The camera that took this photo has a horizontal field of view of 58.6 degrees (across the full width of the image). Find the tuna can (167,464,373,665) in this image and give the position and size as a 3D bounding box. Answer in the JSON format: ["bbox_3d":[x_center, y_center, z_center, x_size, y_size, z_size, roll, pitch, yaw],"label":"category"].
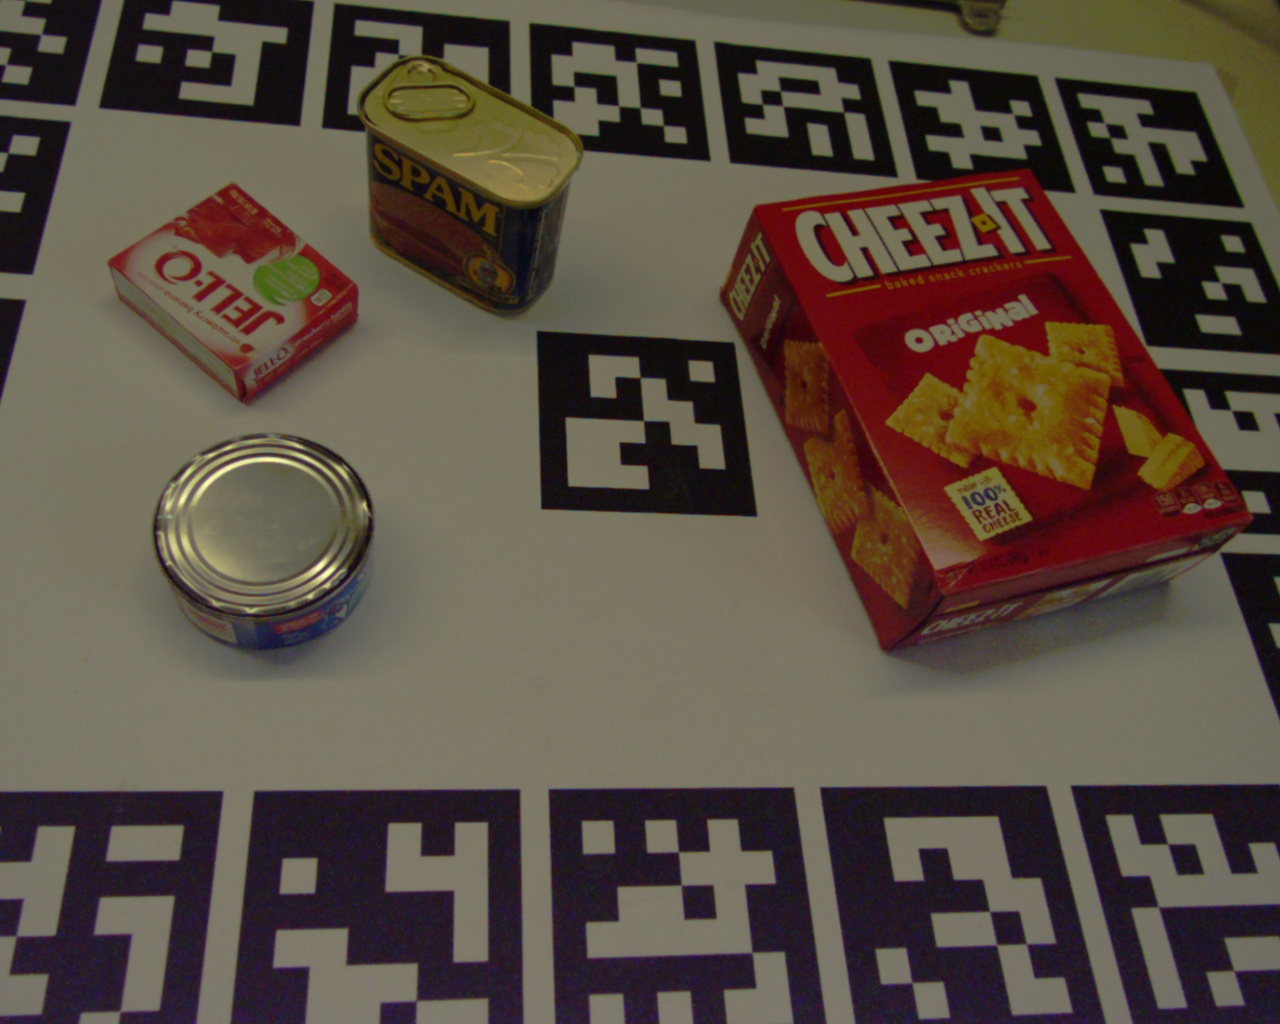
[{"bbox_3d":[-0.162,0.024,0.505,0.085,0.034,0.086,4,62,-8],"label":"tuna can"}]

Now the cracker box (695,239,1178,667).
[{"bbox_3d":[0.148,-0.044,0.597,0.163,0.072,0.215,-13,61,-20],"label":"cracker box"}]

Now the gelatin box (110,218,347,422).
[{"bbox_3d":[-0.206,-0.099,0.575,0.090,0.030,0.073,39,57,9],"label":"gelatin box"}]

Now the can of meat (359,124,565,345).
[{"bbox_3d":[-0.096,-0.145,0.603,0.102,0.084,0.057,27,57,6],"label":"can of meat"}]
